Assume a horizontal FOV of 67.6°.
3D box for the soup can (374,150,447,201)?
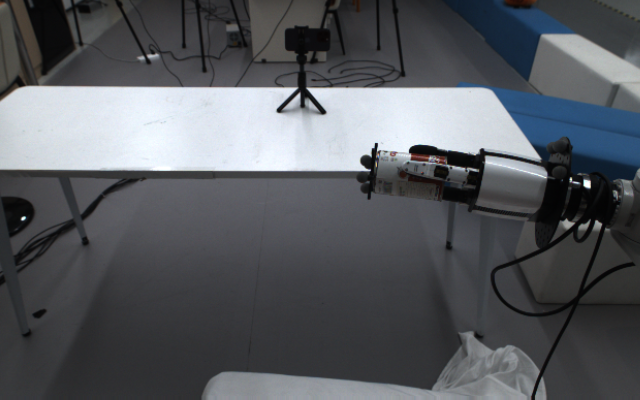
[{"bbox_3d":[0.136,-0.038,0.725,0.101,0.067,0.067,6,35,10],"label":"soup can"}]
